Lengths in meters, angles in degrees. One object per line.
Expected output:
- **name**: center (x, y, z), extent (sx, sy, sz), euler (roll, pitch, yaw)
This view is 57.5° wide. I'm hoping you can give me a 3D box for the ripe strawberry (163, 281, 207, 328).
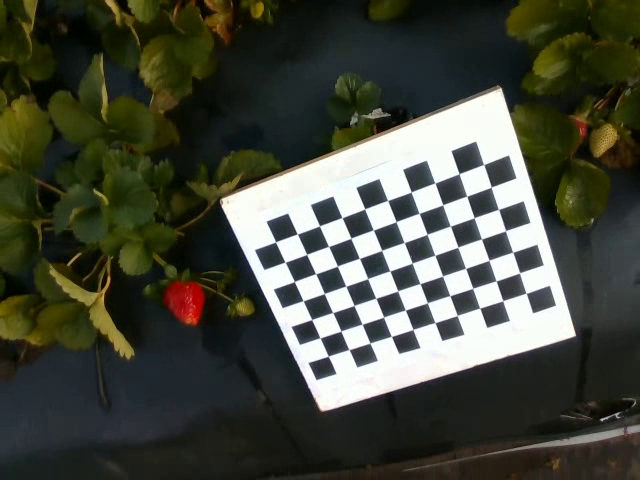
- **ripe strawberry**: center (-0.145, 0.074, 0.632), extent (0.052, 0.043, 0.057), euler (29, 26, -38)
